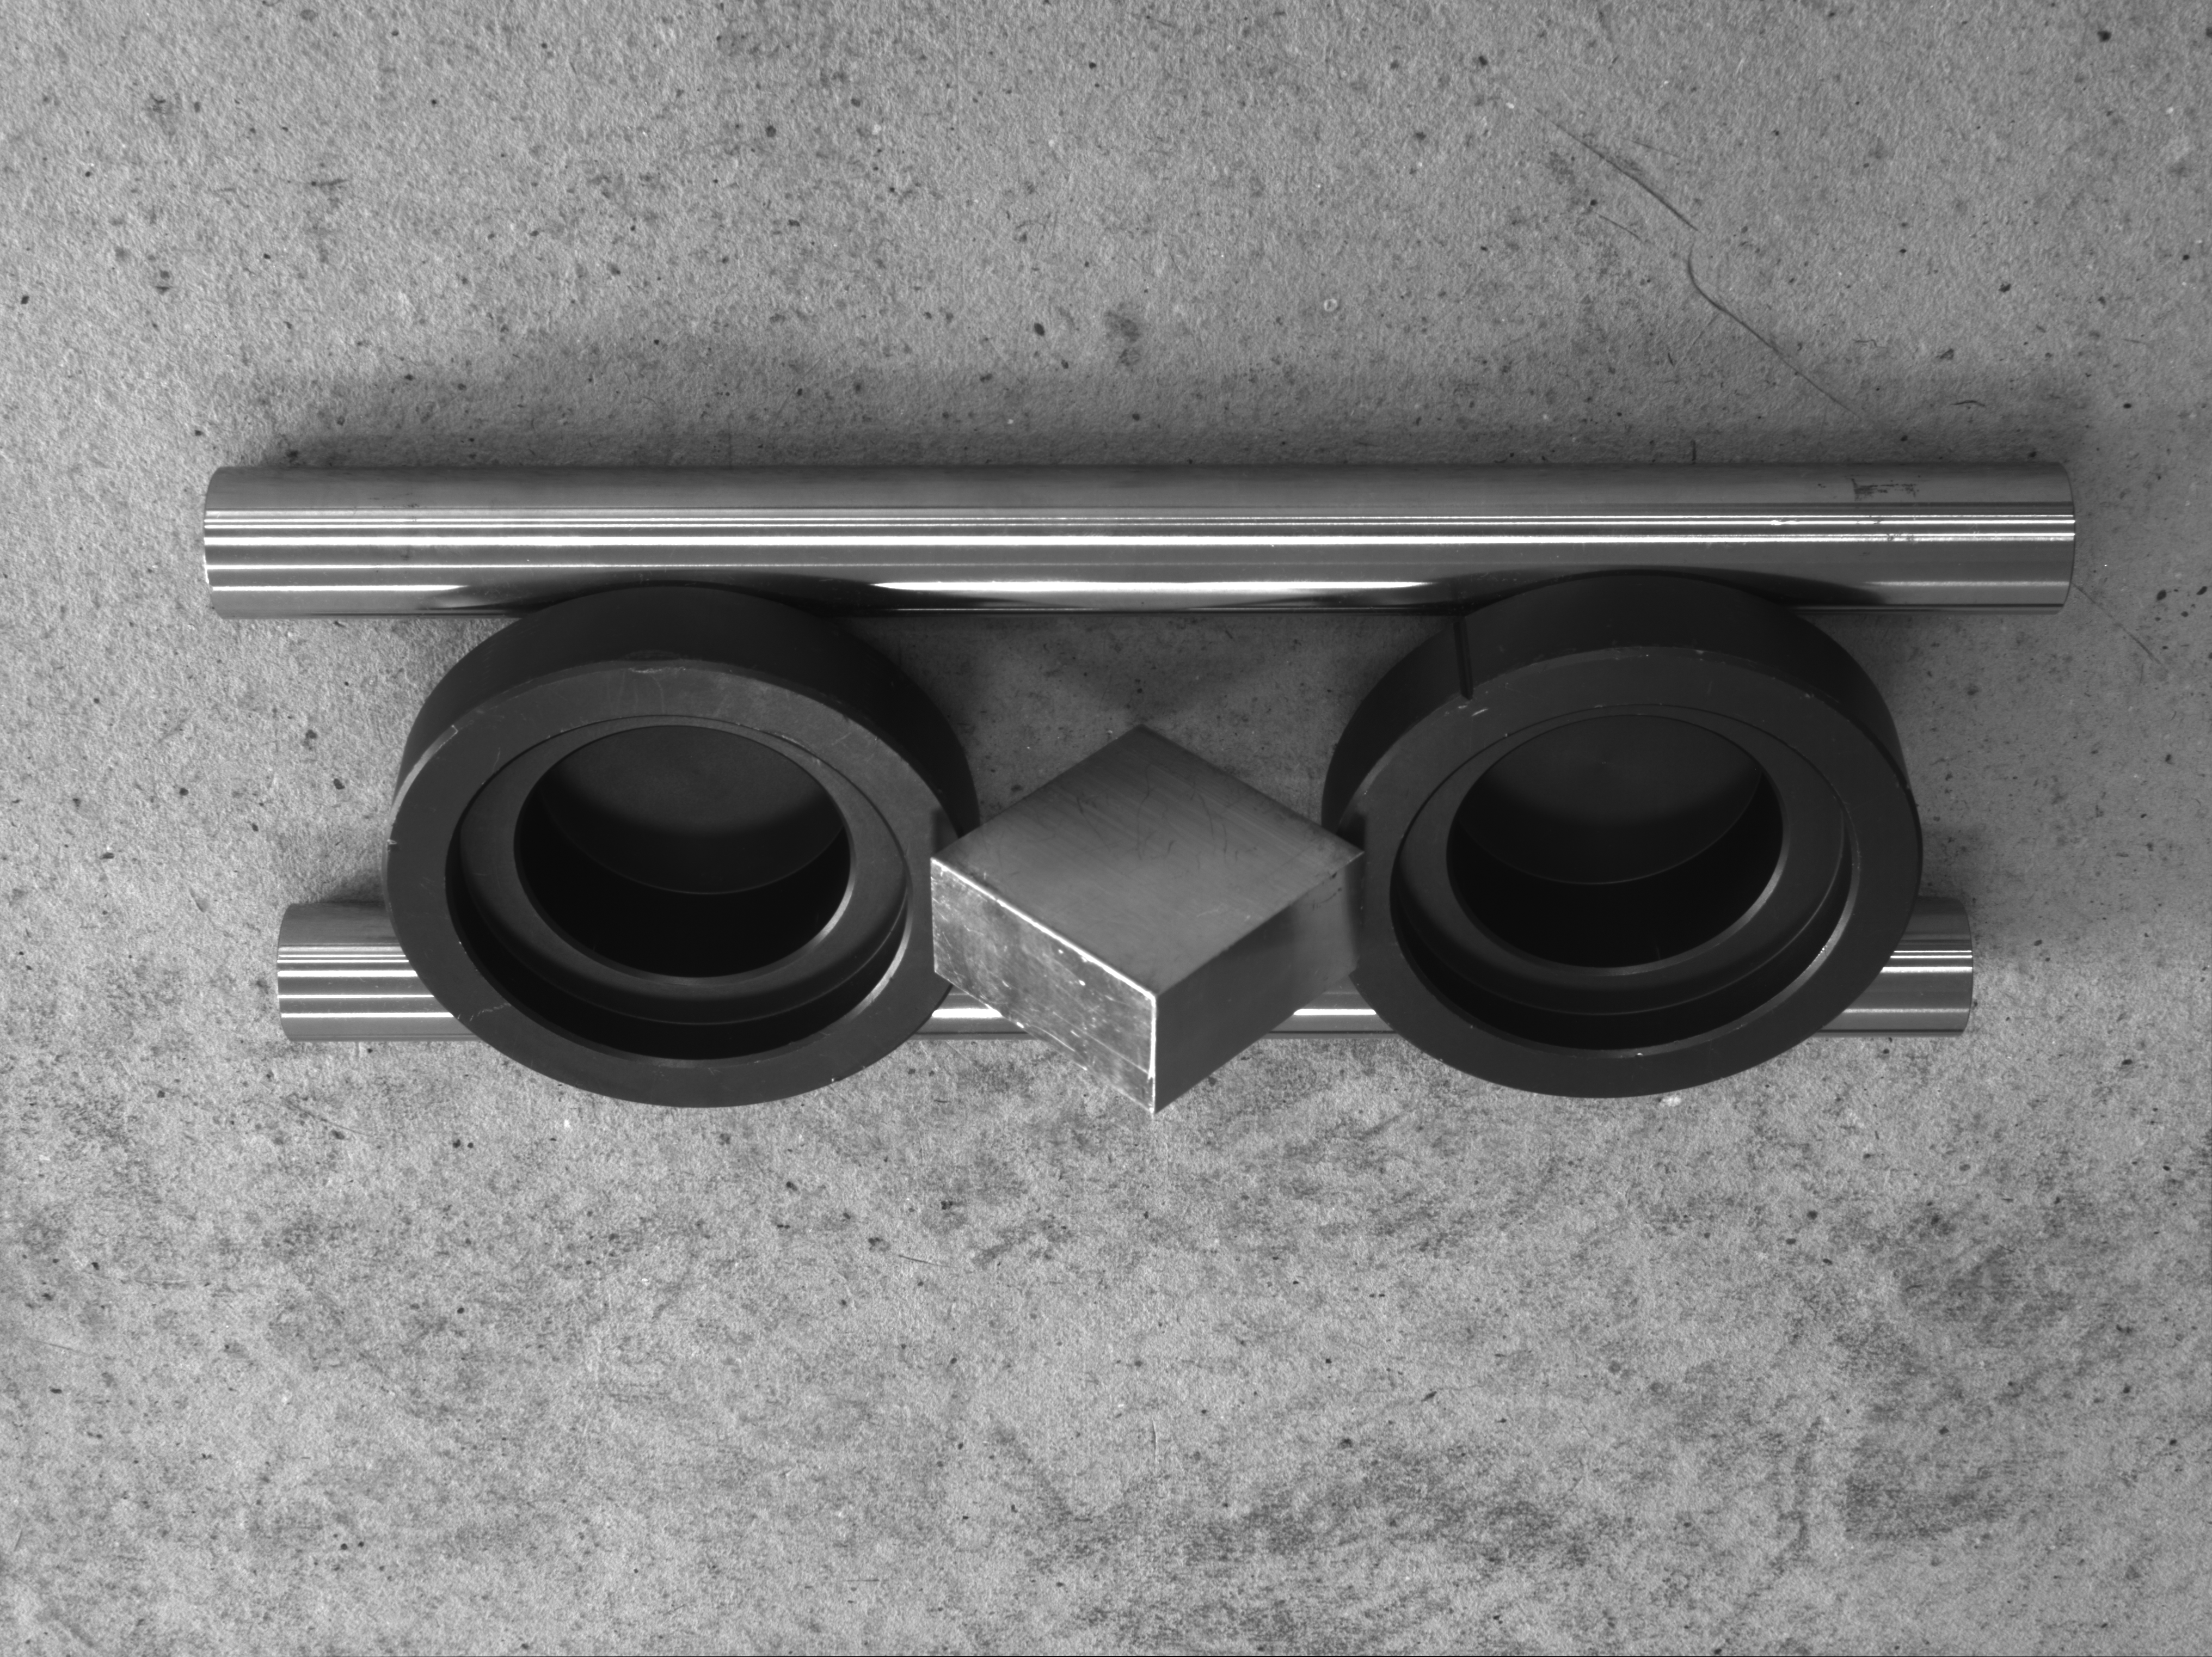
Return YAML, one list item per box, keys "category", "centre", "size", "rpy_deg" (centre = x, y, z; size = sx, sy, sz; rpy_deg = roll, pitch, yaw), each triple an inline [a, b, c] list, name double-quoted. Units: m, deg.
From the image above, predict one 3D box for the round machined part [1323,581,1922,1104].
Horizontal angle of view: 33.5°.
- category: "round machined part"
  centre: [0.085, -0.003, 0.620]
  size: [0.098, 0.042, 0.098]
  rpy_deg: [0, 130, 0]

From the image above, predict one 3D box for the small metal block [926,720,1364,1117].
- category: "small metal block"
  centre: [0.006, 0.014, 0.601]
  size: [0.050, 0.050, 0.025]
  rpy_deg: [31, 138, 32]

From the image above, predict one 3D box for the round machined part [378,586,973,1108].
- category: "round machined part"
  centre: [-0.071, -0.002, 0.621]
  size: [0.098, 0.042, 0.098]
  rpy_deg: [0, 130, 0]

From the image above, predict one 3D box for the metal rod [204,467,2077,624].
- category: "metal rod"
  centre: [0.006, -0.046, 0.601]
  size: [0.300, 0.025, 0.025]
  rpy_deg: [0, 130, 0]

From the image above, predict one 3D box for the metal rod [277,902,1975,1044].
- category: "metal rod"
  centre: [0.004, 0.026, 0.661]
  size: [0.300, 0.025, 0.025]
  rpy_deg: [0, 130, 0]
